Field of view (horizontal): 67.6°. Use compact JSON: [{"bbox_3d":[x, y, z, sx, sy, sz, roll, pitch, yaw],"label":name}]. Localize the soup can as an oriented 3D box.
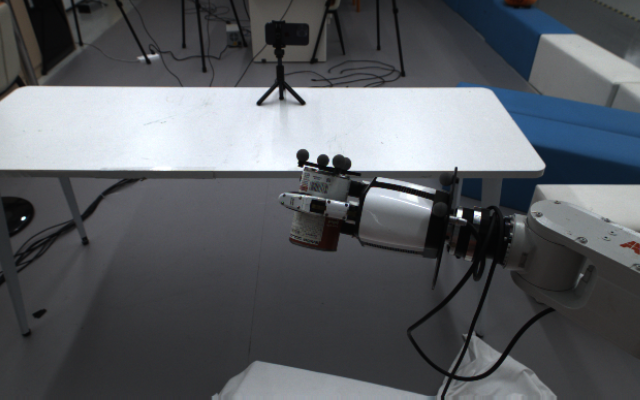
[{"bbox_3d":[0.001,0.012,0.650,0.067,0.101,0.067,11,2,0],"label":"soup can"}]
